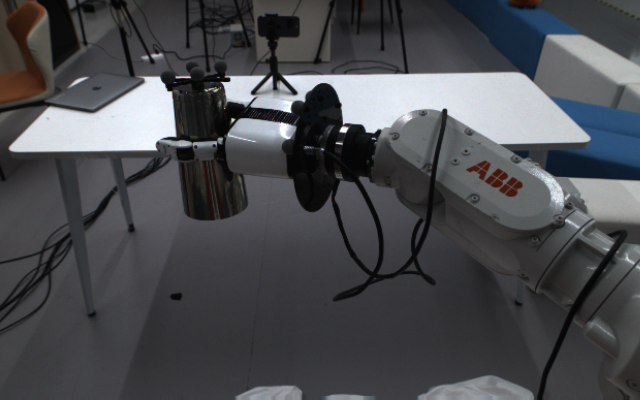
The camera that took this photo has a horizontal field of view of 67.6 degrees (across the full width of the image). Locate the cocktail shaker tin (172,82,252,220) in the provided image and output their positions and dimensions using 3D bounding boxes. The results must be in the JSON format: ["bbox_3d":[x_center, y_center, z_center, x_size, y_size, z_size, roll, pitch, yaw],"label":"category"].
[{"bbox_3d":[-0.151,-0.069,0.655,0.093,0.170,0.093,-3,26,1],"label":"cocktail shaker tin"}]
